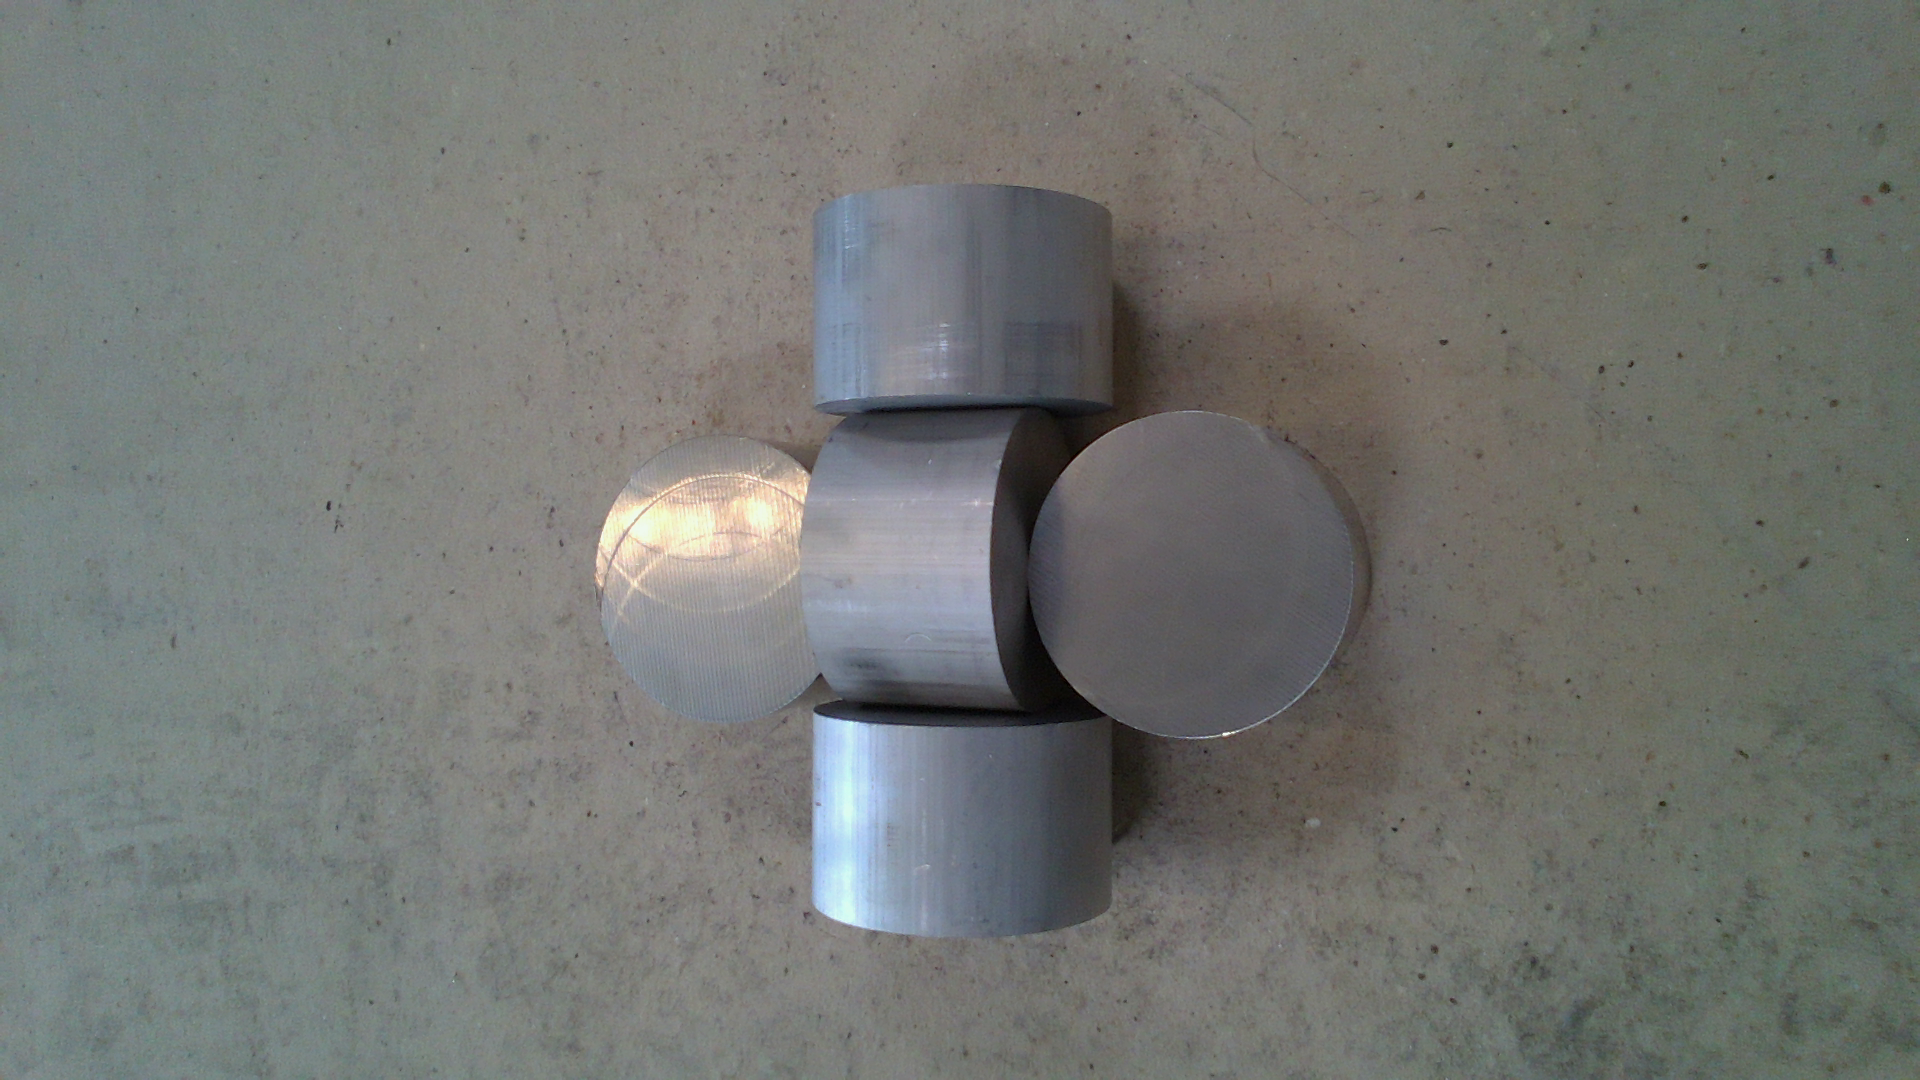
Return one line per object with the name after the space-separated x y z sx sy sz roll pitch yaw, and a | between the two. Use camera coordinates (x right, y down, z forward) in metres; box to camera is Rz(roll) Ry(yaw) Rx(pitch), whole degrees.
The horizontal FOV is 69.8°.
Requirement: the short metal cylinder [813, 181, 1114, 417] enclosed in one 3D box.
0.001 -0.060 0.367 0.080 0.080 0.050 0 90 20 | short metal cylinder

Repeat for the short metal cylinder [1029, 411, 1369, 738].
0.064 0.008 0.359 0.080 0.050 0.080 0 90 20 | short metal cylinder

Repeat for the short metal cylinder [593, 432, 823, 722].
-0.059 0.010 0.404 0.080 0.050 0.080 0 90 19 | short metal cylinder

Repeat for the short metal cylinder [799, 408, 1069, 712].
-0.002 0.005 0.368 0.050 0.080 0.080 0 90 20 | short metal cylinder

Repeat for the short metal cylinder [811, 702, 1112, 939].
0.000 0.070 0.367 0.080 0.080 0.050 0 90 20 | short metal cylinder
